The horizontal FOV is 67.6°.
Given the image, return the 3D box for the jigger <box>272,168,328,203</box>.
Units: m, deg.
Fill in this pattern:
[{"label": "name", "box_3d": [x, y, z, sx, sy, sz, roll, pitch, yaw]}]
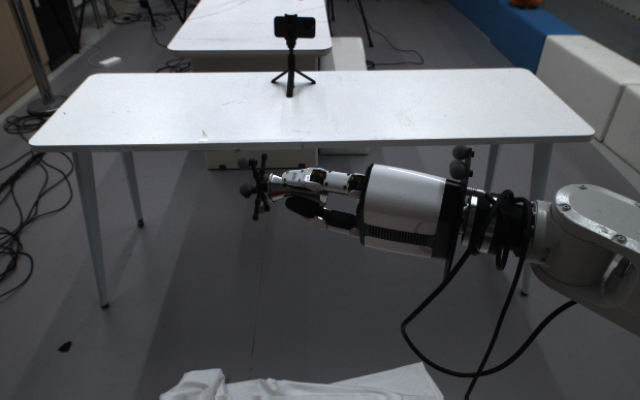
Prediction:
[{"label": "jigger", "box_3d": [-0.020, -0.019, 0.609, 0.071, 0.043, 0.043, 2, 34, 14]}]
